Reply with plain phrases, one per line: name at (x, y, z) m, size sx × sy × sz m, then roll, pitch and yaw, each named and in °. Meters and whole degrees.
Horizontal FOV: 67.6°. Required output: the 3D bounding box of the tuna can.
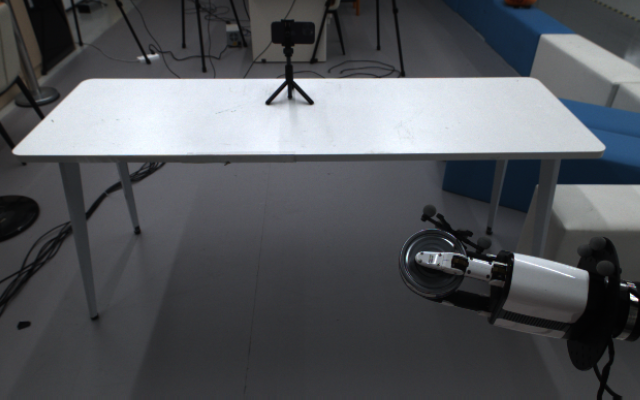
tuna can at (0.148, 0.086, 0.615) m, size 0.085 × 0.034 × 0.085 m, roll -4°, pitch 69°, yaw 10°
